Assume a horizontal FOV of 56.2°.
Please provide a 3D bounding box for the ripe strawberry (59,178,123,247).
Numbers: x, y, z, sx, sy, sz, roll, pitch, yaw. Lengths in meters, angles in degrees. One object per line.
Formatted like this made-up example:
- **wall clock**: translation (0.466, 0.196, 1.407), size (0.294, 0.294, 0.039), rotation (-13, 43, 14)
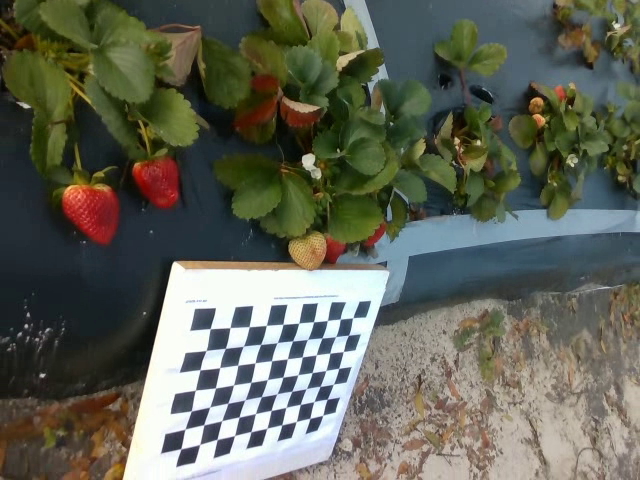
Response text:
- **ripe strawberry**: translation (-0.193, -0.022, 0.507), size (0.050, 0.061, 0.045), rotation (-8, -12, -35)

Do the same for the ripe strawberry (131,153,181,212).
- **ripe strawberry**: translation (-0.146, -0.054, 0.543), size (0.042, 0.053, 0.034), rotation (-14, -5, -33)
